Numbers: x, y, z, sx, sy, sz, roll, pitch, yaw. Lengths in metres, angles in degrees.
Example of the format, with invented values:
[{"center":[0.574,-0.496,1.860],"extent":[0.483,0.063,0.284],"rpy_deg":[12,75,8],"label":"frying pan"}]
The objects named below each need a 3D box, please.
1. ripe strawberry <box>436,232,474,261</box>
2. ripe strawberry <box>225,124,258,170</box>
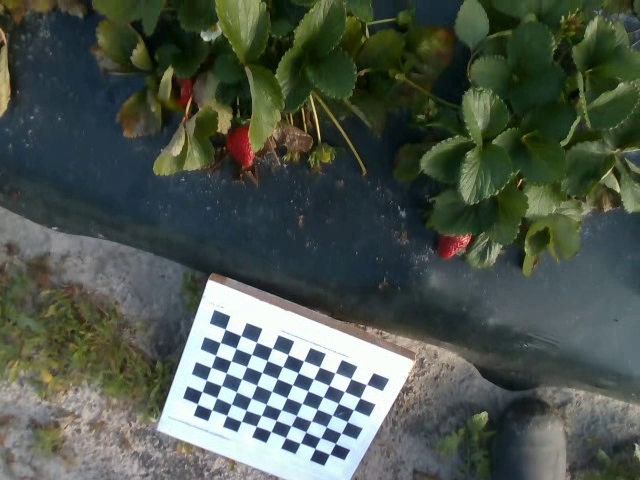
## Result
[{"center":[0.102,0.002,0.463],"extent":[0.029,0.036,0.021],"rpy_deg":[25,15,1],"label":"ripe strawberry"},{"center":[-0.058,-0.069,0.444],"extent":[0.031,0.030,0.025],"rpy_deg":[-13,1,10],"label":"ripe strawberry"}]
